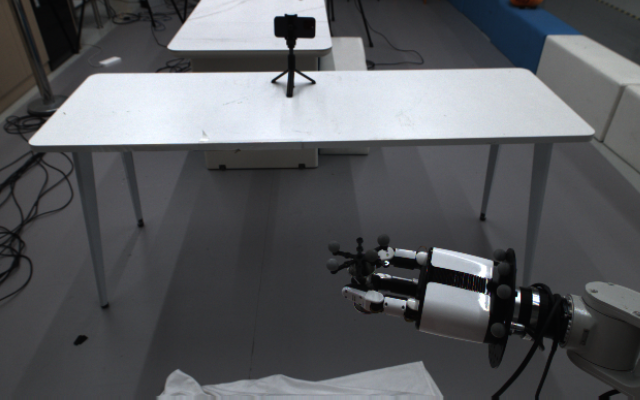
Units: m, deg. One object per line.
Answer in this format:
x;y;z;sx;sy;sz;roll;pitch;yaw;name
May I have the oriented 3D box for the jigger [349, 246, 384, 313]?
0.065;0.121;0.688;0.043;0.071;0.043;-10;32;6;jigger
